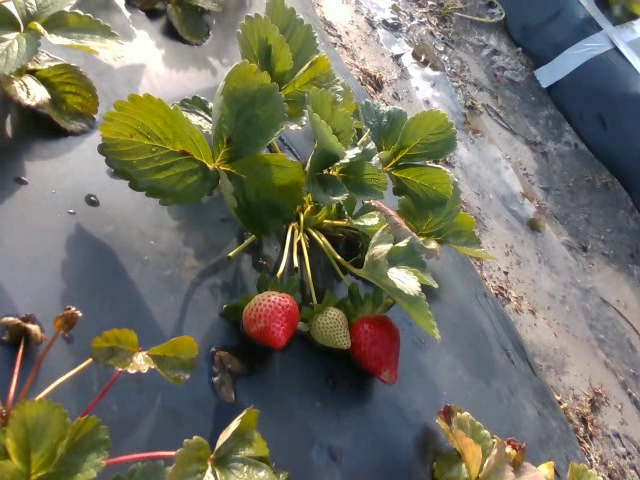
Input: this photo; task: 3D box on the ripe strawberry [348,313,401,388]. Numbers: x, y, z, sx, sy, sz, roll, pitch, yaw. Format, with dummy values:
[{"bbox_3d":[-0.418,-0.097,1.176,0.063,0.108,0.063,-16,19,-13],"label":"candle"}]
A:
[{"bbox_3d":[0.046,0.087,0.481,0.049,0.064,0.050,-13,-24,1],"label":"ripe strawberry"}]
